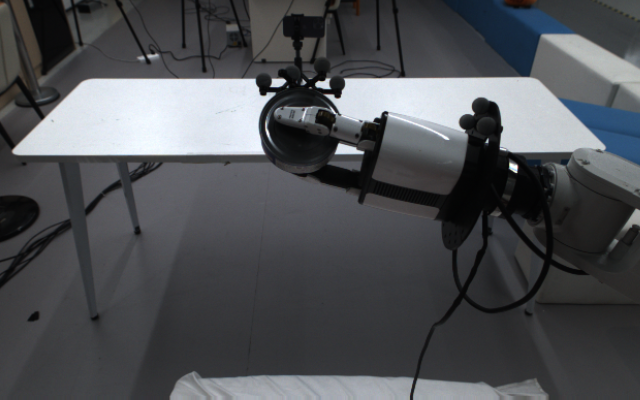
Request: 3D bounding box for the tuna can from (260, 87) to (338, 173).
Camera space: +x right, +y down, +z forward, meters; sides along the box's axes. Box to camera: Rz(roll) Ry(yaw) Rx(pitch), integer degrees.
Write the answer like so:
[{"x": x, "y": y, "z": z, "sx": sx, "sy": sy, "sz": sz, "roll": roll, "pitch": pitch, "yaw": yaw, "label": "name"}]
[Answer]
[{"x": -0.018, "y": -0.069, "z": 0.504, "sx": 0.085, "sy": 0.034, "sz": 0.085, "roll": 1, "pitch": 70, "yaw": -4, "label": "tuna can"}]
